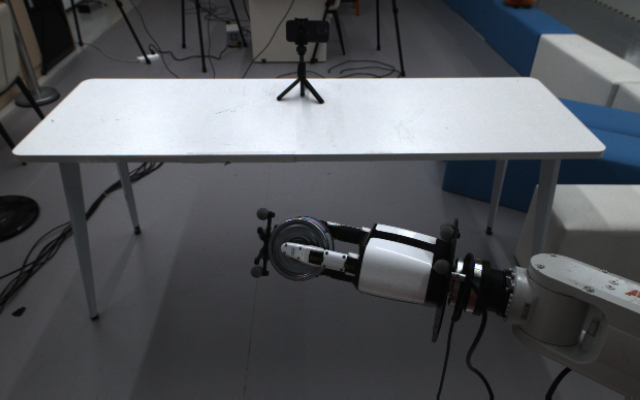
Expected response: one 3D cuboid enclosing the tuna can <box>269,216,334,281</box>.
[{"bbox_3d":[-0.023,0.068,0.647,0.085,0.085,0.034,10,2,11],"label":"tuna can"}]
